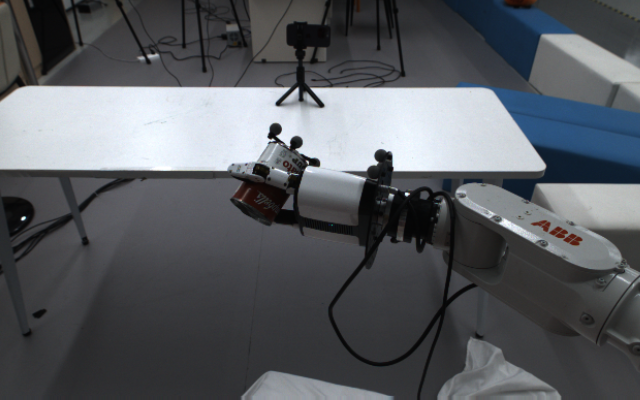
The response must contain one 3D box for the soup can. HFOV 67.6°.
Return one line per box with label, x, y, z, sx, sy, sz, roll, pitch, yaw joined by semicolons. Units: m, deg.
soup can;-0.070;-0.023;0.680;0.067;0.067;0.101;24;73;28
